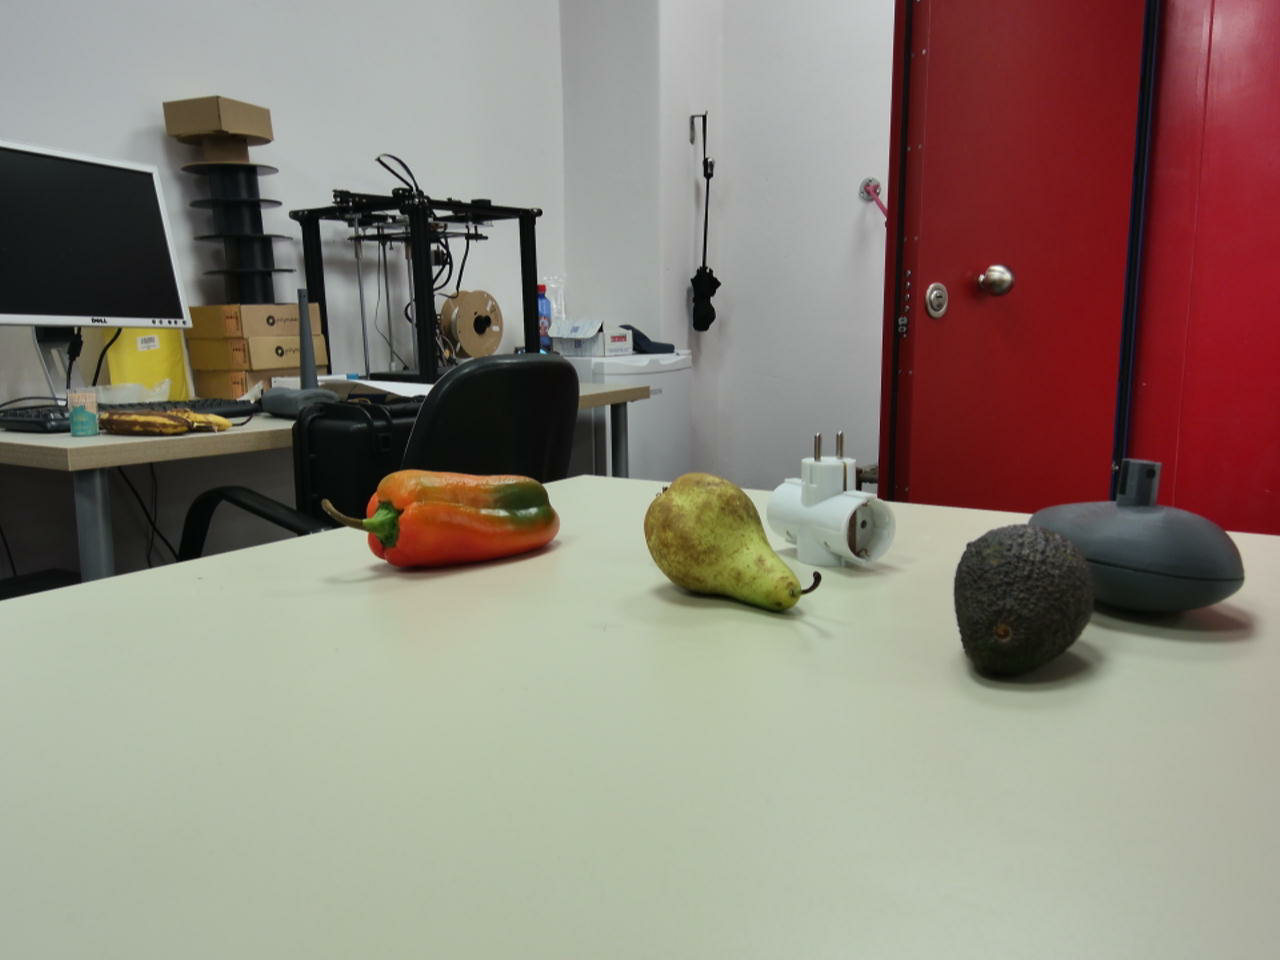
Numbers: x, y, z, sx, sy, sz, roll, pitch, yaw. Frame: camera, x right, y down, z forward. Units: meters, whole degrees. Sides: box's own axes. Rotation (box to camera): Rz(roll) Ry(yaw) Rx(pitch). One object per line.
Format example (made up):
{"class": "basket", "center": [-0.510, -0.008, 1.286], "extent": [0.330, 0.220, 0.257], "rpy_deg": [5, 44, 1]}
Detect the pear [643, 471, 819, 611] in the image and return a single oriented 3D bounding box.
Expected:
{"class": "pear", "center": [0.065, 0.036, 0.606], "extent": [0.144, 0.075, 0.071], "rpy_deg": [7, 10, 42]}
